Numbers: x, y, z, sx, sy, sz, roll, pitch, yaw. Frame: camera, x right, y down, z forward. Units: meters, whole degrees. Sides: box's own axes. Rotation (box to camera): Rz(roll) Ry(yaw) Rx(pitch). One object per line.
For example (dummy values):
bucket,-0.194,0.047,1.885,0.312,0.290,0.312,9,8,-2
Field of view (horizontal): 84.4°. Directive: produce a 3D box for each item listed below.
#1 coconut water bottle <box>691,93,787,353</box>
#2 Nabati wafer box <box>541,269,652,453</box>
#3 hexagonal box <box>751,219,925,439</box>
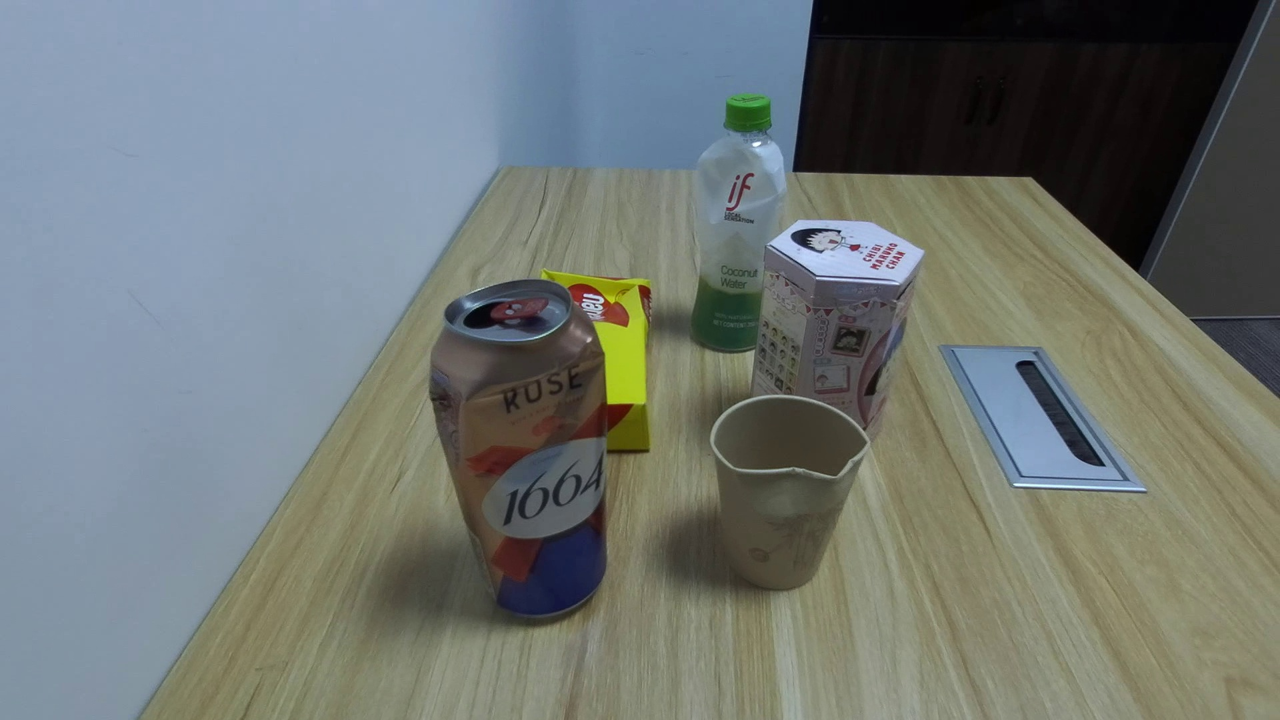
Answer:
coconut water bottle,0.073,-0.099,0.528,0.067,0.187,0.067,0,35,0
Nabati wafer box,-0.040,-0.011,0.532,0.096,0.042,0.203,1,34,1
hexagonal box,0.119,-0.009,0.441,0.083,0.136,0.091,20,39,27
